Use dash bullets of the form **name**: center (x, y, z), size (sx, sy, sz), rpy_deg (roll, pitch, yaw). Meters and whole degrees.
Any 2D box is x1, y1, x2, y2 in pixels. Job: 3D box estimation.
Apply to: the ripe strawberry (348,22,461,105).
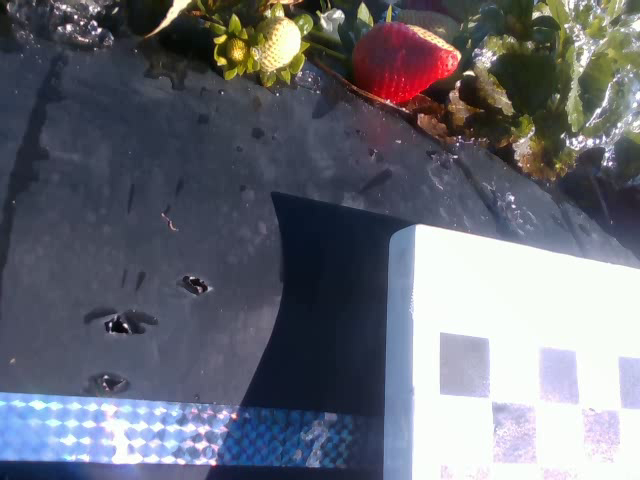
- **ripe strawberry**: center (0.039, -0.077, 0.275), size (0.040, 0.042, 0.053), rpy_deg (-30, 31, -32)
